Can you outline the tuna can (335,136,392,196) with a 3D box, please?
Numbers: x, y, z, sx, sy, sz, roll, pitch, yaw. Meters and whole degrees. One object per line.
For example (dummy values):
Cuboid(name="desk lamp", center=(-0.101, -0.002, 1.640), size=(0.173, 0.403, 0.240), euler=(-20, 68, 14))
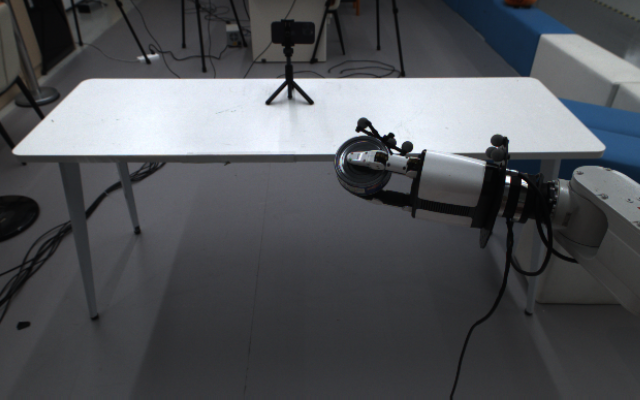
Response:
Cuboid(name="tuna can", center=(0.068, -0.047, 0.719), size=(0.085, 0.034, 0.085), euler=(-4, 69, 10))
